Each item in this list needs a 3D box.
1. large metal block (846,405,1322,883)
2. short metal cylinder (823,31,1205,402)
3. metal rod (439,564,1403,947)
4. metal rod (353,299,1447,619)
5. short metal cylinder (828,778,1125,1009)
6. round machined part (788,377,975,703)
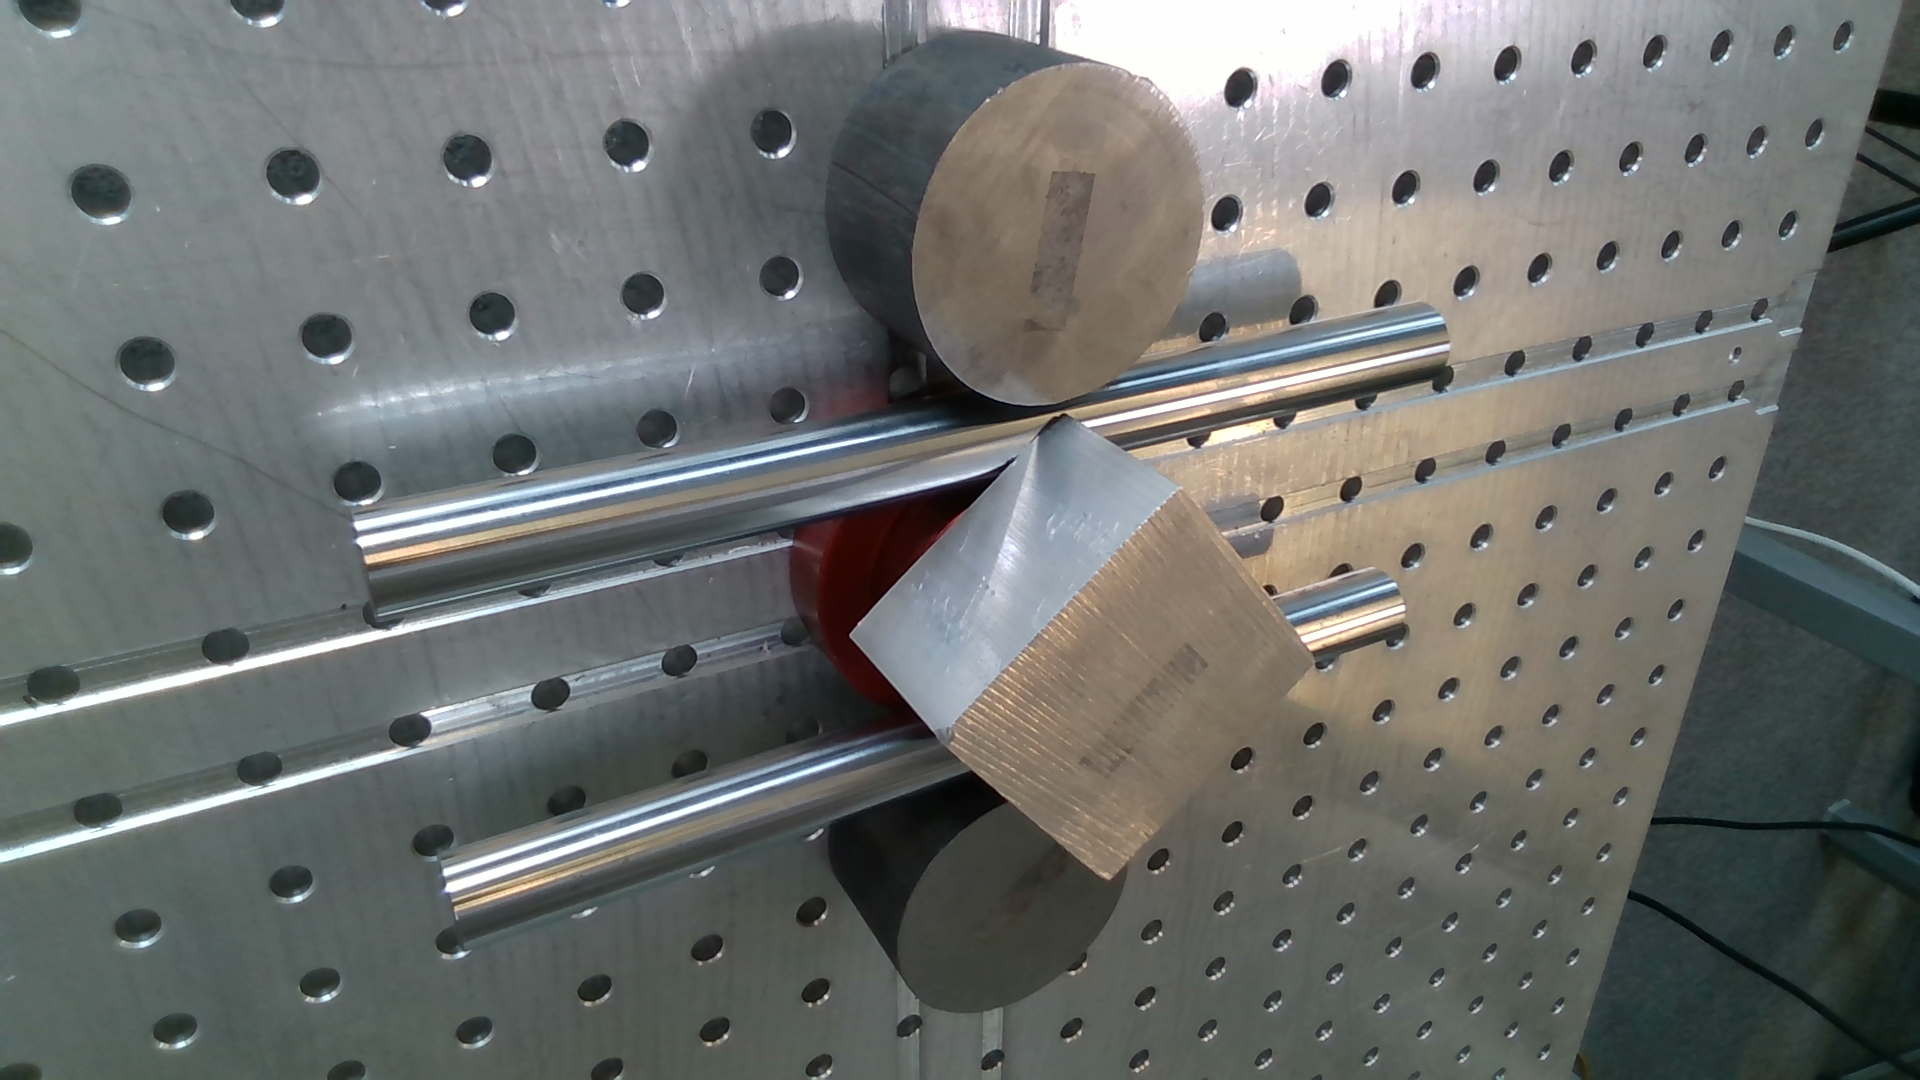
[{"bbox_3d":[0.033,0.027,0.351,0.080,0.050,0.080,-46,129,-2],"label":"large metal block"},{"bbox_3d":[0.013,-0.081,0.341,0.080,0.050,0.080,-14,122,-25],"label":"short metal cylinder"},{"bbox_3d":[0.008,0.054,0.400,0.300,0.025,0.025,-14,121,-25],"label":"metal rod"},{"bbox_3d":[0.006,-0.028,0.355,0.300,0.025,0.025,-14,121,-25],"label":"metal rod"},{"bbox_3d":[0.005,0.098,0.433,0.080,0.050,0.080,-14,122,-25],"label":"short metal cylinder"},{"bbox_3d":[0.005,0.006,0.389,0.098,0.042,0.098,-14,122,-25],"label":"round machined part"}]
